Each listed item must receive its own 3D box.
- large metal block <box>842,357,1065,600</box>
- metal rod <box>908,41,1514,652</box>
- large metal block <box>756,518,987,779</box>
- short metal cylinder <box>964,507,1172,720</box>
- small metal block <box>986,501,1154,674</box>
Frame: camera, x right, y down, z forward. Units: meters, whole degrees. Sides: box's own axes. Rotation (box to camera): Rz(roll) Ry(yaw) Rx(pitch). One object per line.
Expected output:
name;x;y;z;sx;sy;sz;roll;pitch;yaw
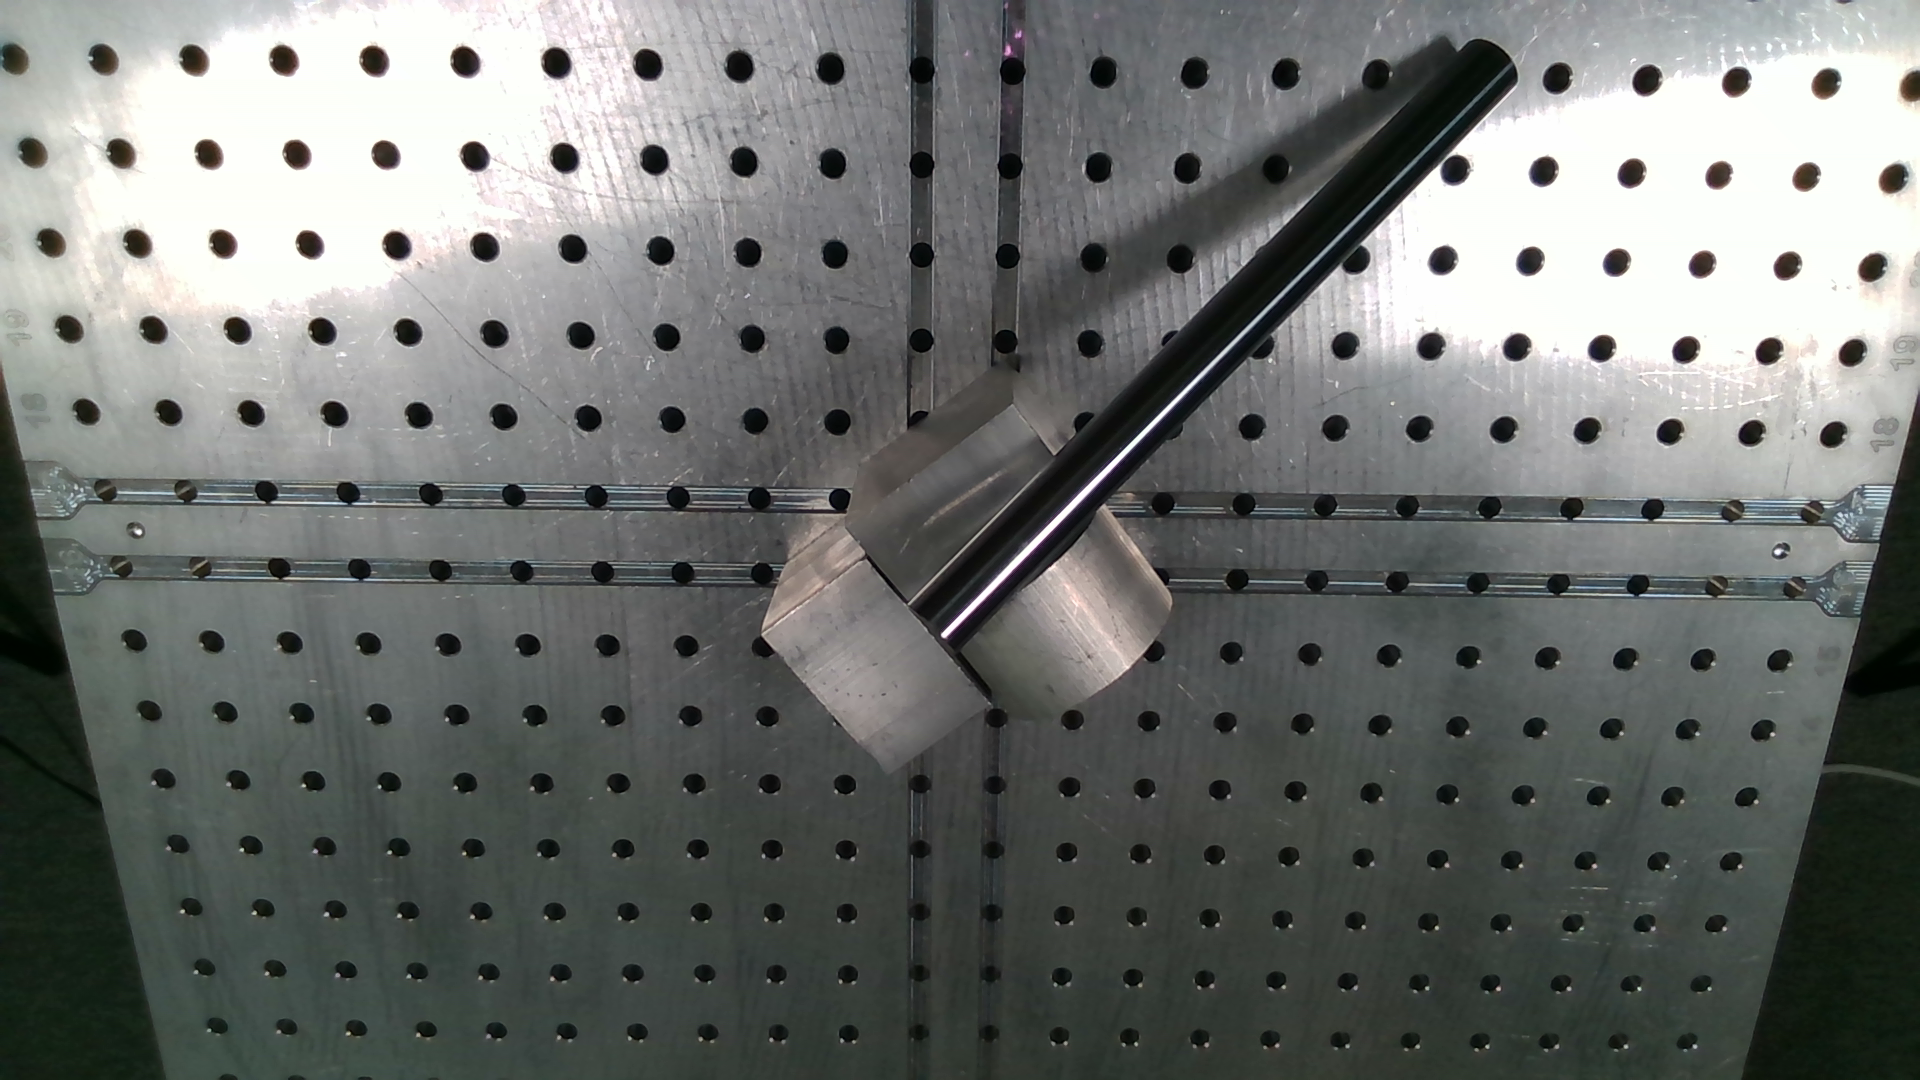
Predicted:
large metal block;0.003;-0.022;0.550;0.080;0.080;0.050;-36;106;12
metal rod;0.095;-0.074;0.504;0.300;0.025;0.025;-45;105;-7
large metal block;-0.034;0.038;0.570;0.050;0.080;0.080;-36;106;12
short metal cylinder;0.035;0.025;0.540;0.080;0.080;0.050;-35;106;12
small metal block;0.047;0.021;0.595;0.050;0.025;0.050;-40;105;13
